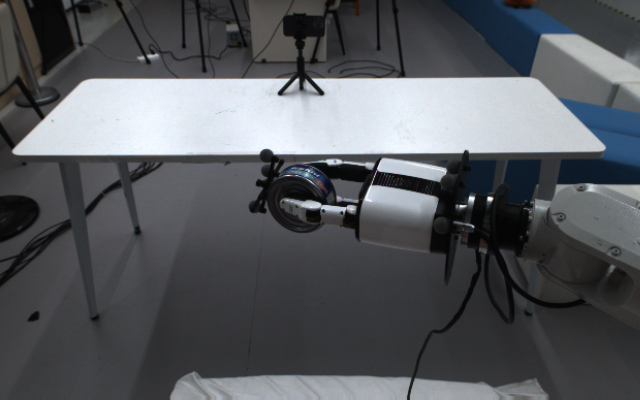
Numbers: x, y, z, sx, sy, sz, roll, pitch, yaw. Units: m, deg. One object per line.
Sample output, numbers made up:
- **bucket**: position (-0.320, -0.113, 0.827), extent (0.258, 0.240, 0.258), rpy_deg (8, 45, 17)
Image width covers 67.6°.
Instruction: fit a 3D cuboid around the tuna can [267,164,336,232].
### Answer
- **tuna can**: position (-0.021, 0.002, 0.618), extent (0.085, 0.085, 0.034), rpy_deg (12, 30, 14)
